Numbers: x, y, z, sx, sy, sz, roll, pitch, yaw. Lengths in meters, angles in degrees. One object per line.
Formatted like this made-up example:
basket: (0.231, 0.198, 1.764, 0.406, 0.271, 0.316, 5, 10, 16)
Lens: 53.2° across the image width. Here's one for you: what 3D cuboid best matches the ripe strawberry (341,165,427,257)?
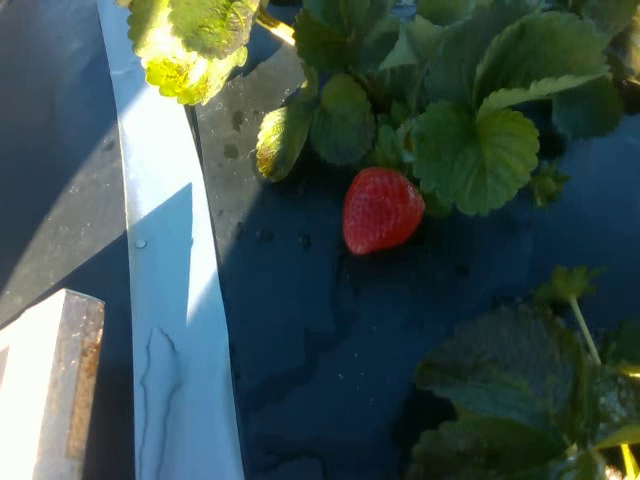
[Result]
ripe strawberry: (0.028, -0.012, 0.306, 0.045, 0.059, 0.042, 3, -37, 46)
